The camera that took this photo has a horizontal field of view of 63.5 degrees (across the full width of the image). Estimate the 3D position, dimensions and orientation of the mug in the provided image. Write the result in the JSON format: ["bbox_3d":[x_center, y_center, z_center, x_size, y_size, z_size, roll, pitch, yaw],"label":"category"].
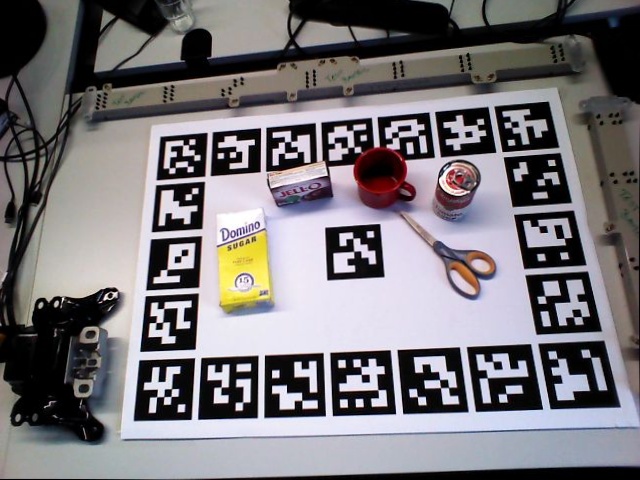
[{"bbox_3d":[0.152,-0.103,0.923,0.093,0.081,0.117,-38,69,-4],"label":"mug"}]

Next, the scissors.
[{"bbox_3d":[0.251,0.030,0.897,0.088,0.016,0.203,-46,73,1],"label":"scissors"}]

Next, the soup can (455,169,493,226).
[{"bbox_3d":[0.268,-0.073,0.895,0.068,0.102,0.067,-3,69,7],"label":"soup can"}]

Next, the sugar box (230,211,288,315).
[{"bbox_3d":[-0.111,0.040,0.929,0.093,0.045,0.175,-7,72,7],"label":"sugar box"}]

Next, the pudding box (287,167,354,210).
[{"bbox_3d":[0.003,-0.096,0.931,0.114,0.090,0.038,-12,76,2],"label":"pudding box"}]
